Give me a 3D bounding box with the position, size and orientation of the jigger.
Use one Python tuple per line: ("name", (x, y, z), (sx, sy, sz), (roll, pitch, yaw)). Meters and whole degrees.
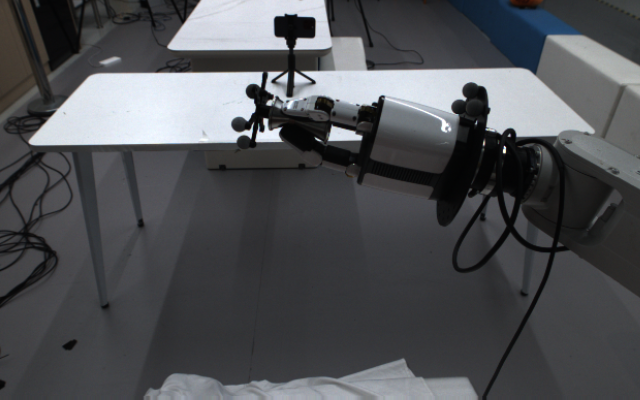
("jigger", (-0.018, -0.097, 0.558), (0.071, 0.043, 0.043), (13, 36, 4))
